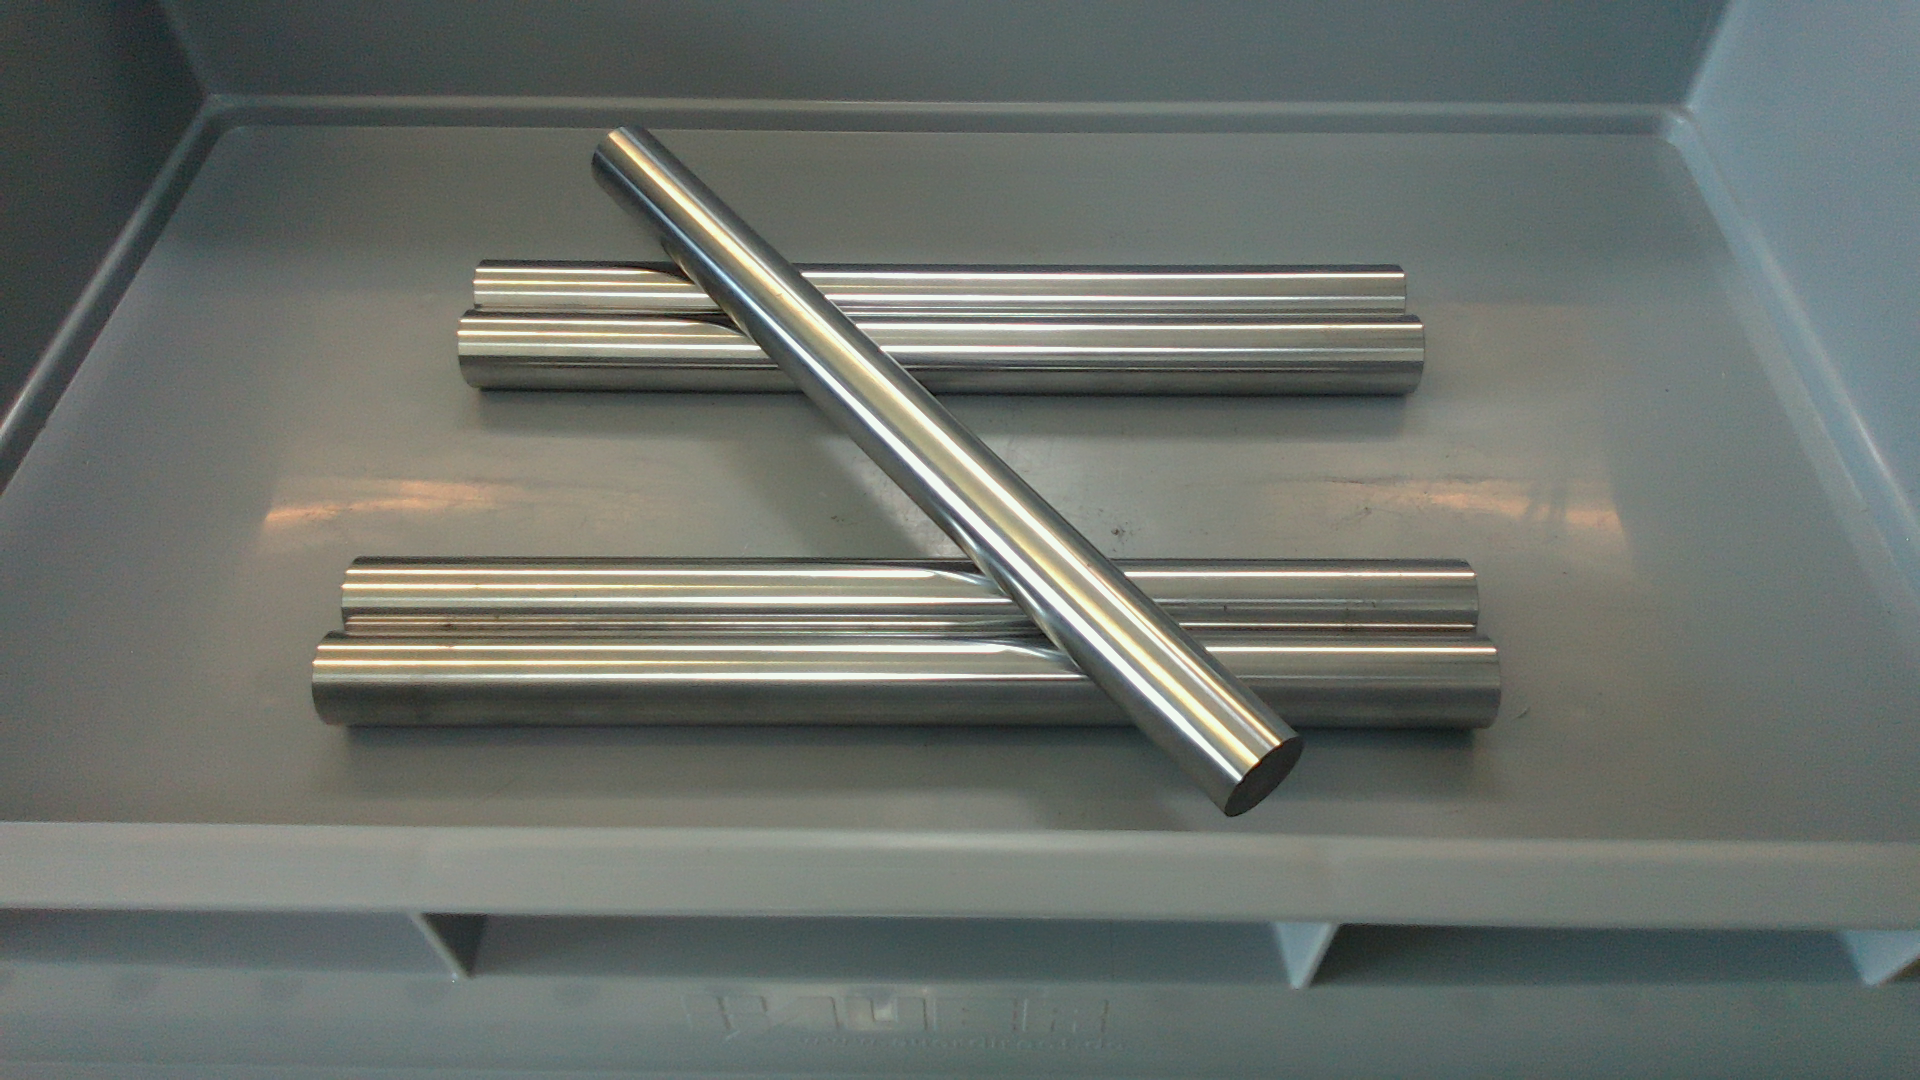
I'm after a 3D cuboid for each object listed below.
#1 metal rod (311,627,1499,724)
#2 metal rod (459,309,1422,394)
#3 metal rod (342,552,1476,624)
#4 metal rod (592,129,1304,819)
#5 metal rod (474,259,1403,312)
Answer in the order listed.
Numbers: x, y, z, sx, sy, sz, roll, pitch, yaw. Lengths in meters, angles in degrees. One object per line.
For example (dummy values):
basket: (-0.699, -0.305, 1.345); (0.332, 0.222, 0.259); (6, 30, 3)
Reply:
metal rod: (-0.014, 0.035, 0.360); (0.300, 0.025, 0.025); (0, 50, 0)
metal rod: (-0.006, -0.060, 0.441); (0.300, 0.025, 0.025); (0, 50, 0)
metal rod: (-0.013, 0.016, 0.376); (0.300, 0.025, 0.025); (0, 50, 0)
metal rod: (-0.022, -0.037, 0.389); (0.025, 0.025, 0.299); (-30, 56, -23)
metal rod: (-0.007, -0.080, 0.457); (0.300, 0.025, 0.025); (0, 50, 0)
